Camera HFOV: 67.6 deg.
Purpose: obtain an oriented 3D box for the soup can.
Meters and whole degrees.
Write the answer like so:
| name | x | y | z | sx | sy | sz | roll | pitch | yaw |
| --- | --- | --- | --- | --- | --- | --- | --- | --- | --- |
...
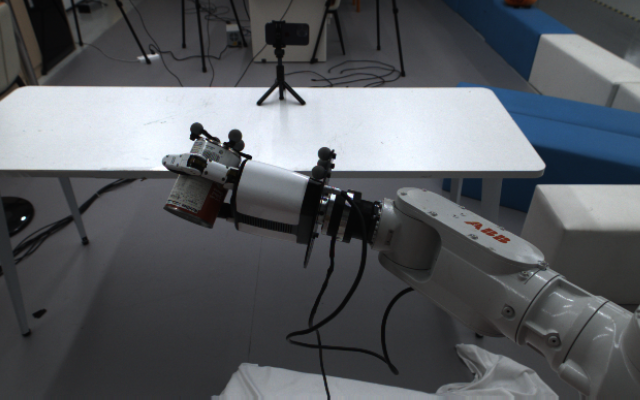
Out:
| name | x | y | z | sx | sy | sz | roll | pitch | yaw |
| --- | --- | --- | --- | --- | --- | --- | --- | --- | --- |
| soup can | -0.152 | -0.020 | 0.636 | 0.067 | 0.067 | 0.101 | 16 | 76 | 19 |
